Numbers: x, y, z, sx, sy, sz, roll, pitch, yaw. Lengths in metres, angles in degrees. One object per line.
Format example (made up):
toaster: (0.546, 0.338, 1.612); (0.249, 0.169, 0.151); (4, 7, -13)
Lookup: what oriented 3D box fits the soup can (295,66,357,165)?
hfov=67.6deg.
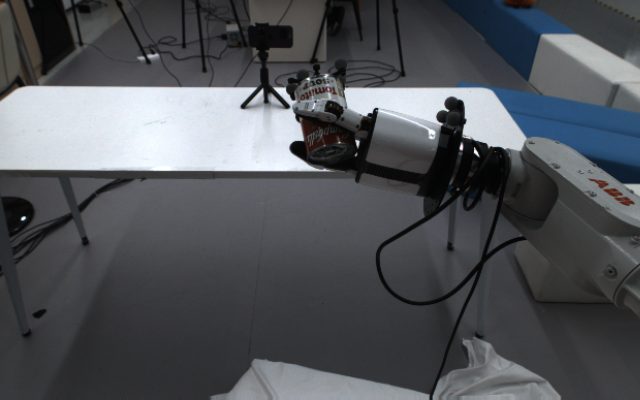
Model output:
soup can: (0.008, -0.106, 0.644); (0.067, 0.067, 0.101); (-8, 74, -14)
